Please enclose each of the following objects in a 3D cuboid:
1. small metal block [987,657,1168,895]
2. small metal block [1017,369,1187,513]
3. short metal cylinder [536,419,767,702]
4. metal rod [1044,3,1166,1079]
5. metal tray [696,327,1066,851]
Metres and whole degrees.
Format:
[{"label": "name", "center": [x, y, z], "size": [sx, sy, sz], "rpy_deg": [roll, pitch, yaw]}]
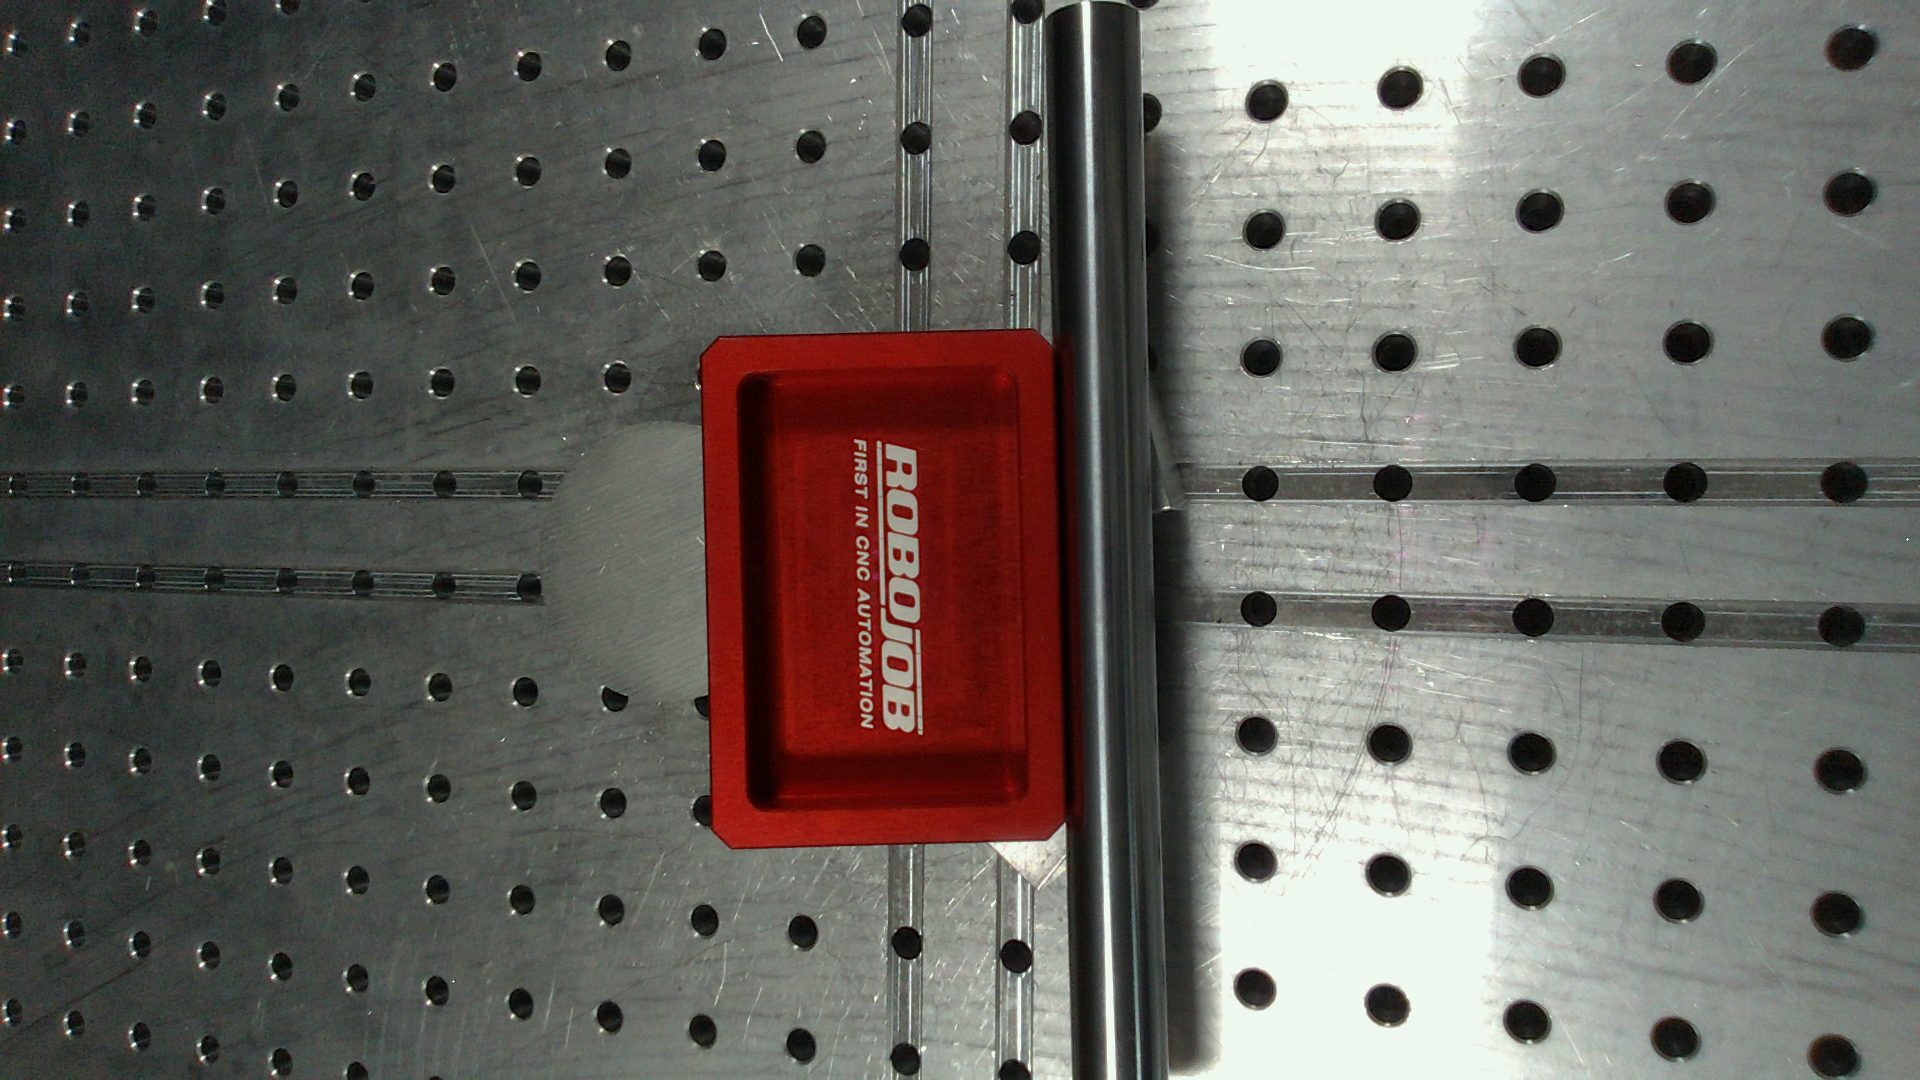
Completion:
[{"label": "small metal block", "center": [0.022, 0.062, 0.390], "size": [0.050, 0.025, 0.050], "rpy_deg": [40, 103, 15]}, {"label": "small metal block", "center": [0.031, -0.026, 0.387], "size": [0.050, 0.025, 0.050], "rpy_deg": [-16, 85, 19]}, {"label": "short metal cylinder", "center": [-0.078, 0.006, 0.412], "size": [0.080, 0.050, 0.080], "rpy_deg": [0, 90, 20]}, {"label": "metal rod", "center": [0.038, 0.015, 0.358], "size": [0.025, 0.025, 0.300], "rpy_deg": [-2, 90, 20]}, {"label": "metal tray", "center": [-0.020, 0.012, 0.360], "size": [0.090, 0.030, 0.130], "rpy_deg": [-2, 90, 0]}]
